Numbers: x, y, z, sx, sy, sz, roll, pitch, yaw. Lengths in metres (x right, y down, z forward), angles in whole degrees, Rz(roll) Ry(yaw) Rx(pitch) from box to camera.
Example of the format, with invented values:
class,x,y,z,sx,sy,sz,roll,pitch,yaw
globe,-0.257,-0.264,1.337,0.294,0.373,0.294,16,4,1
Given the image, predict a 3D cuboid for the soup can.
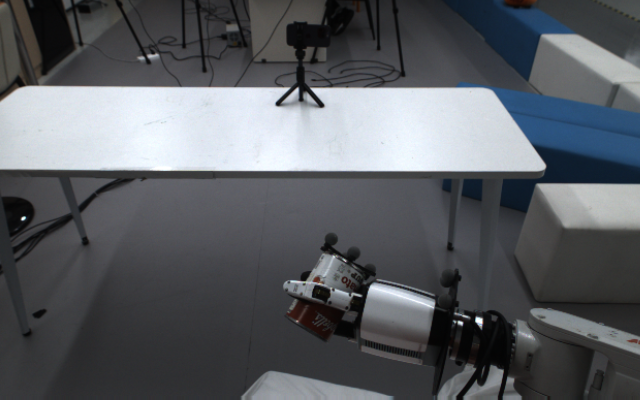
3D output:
class,x,y,z,sx,sy,sz,roll,pitch,yaw
soup can,0.008,0.127,0.639,0.067,0.067,0.101,24,72,29
